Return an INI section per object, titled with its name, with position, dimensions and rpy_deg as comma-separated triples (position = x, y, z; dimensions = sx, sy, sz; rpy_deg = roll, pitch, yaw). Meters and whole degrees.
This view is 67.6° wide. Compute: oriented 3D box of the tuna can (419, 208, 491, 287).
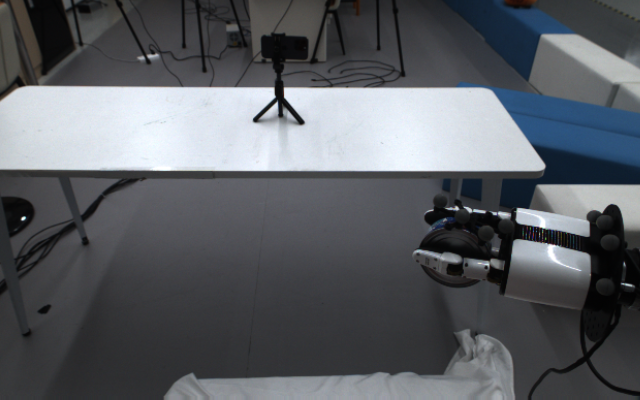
[tuna can]
position = 0.172, 0.063, 0.604
dimensions = 0.085, 0.085, 0.034
rpy_deg = 16, 28, 19
